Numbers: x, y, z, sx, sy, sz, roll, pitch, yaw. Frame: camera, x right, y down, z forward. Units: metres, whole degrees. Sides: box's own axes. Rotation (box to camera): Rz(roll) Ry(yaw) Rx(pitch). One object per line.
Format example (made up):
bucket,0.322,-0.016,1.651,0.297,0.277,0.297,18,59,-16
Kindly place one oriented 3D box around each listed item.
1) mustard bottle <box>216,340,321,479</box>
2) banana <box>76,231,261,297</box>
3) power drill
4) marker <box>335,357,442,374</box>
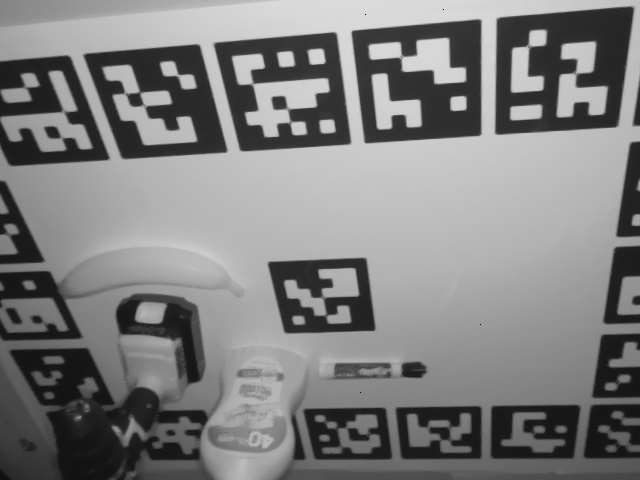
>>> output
mustard bottle,-0.057,0.190,0.732,0.096,0.193,0.058,7,124,3
banana,-0.162,0.024,0.729,0.197,0.039,0.073,3,122,2
power drill,-0.171,0.150,0.697,0.057,0.189,0.182,9,126,3
marker,0.078,0.144,0.792,0.121,0.020,0.019,-1,122,6
